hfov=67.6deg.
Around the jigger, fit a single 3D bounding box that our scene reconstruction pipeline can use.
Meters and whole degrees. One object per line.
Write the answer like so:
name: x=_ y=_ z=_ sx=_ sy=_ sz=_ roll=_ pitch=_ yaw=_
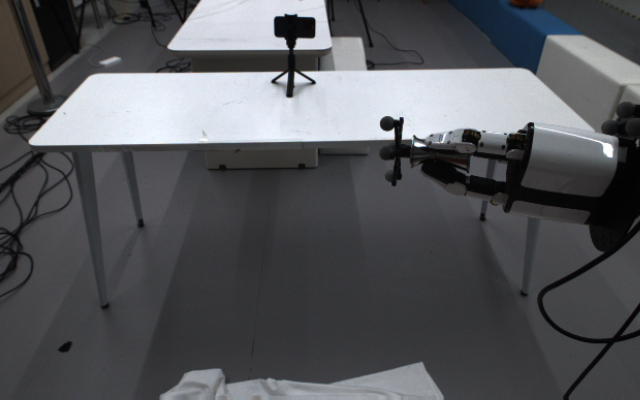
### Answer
jigger: x=0.151 y=-0.060 z=0.579 sx=0.071 sy=0.043 sz=0.043 roll=4 pitch=34 yaw=17
